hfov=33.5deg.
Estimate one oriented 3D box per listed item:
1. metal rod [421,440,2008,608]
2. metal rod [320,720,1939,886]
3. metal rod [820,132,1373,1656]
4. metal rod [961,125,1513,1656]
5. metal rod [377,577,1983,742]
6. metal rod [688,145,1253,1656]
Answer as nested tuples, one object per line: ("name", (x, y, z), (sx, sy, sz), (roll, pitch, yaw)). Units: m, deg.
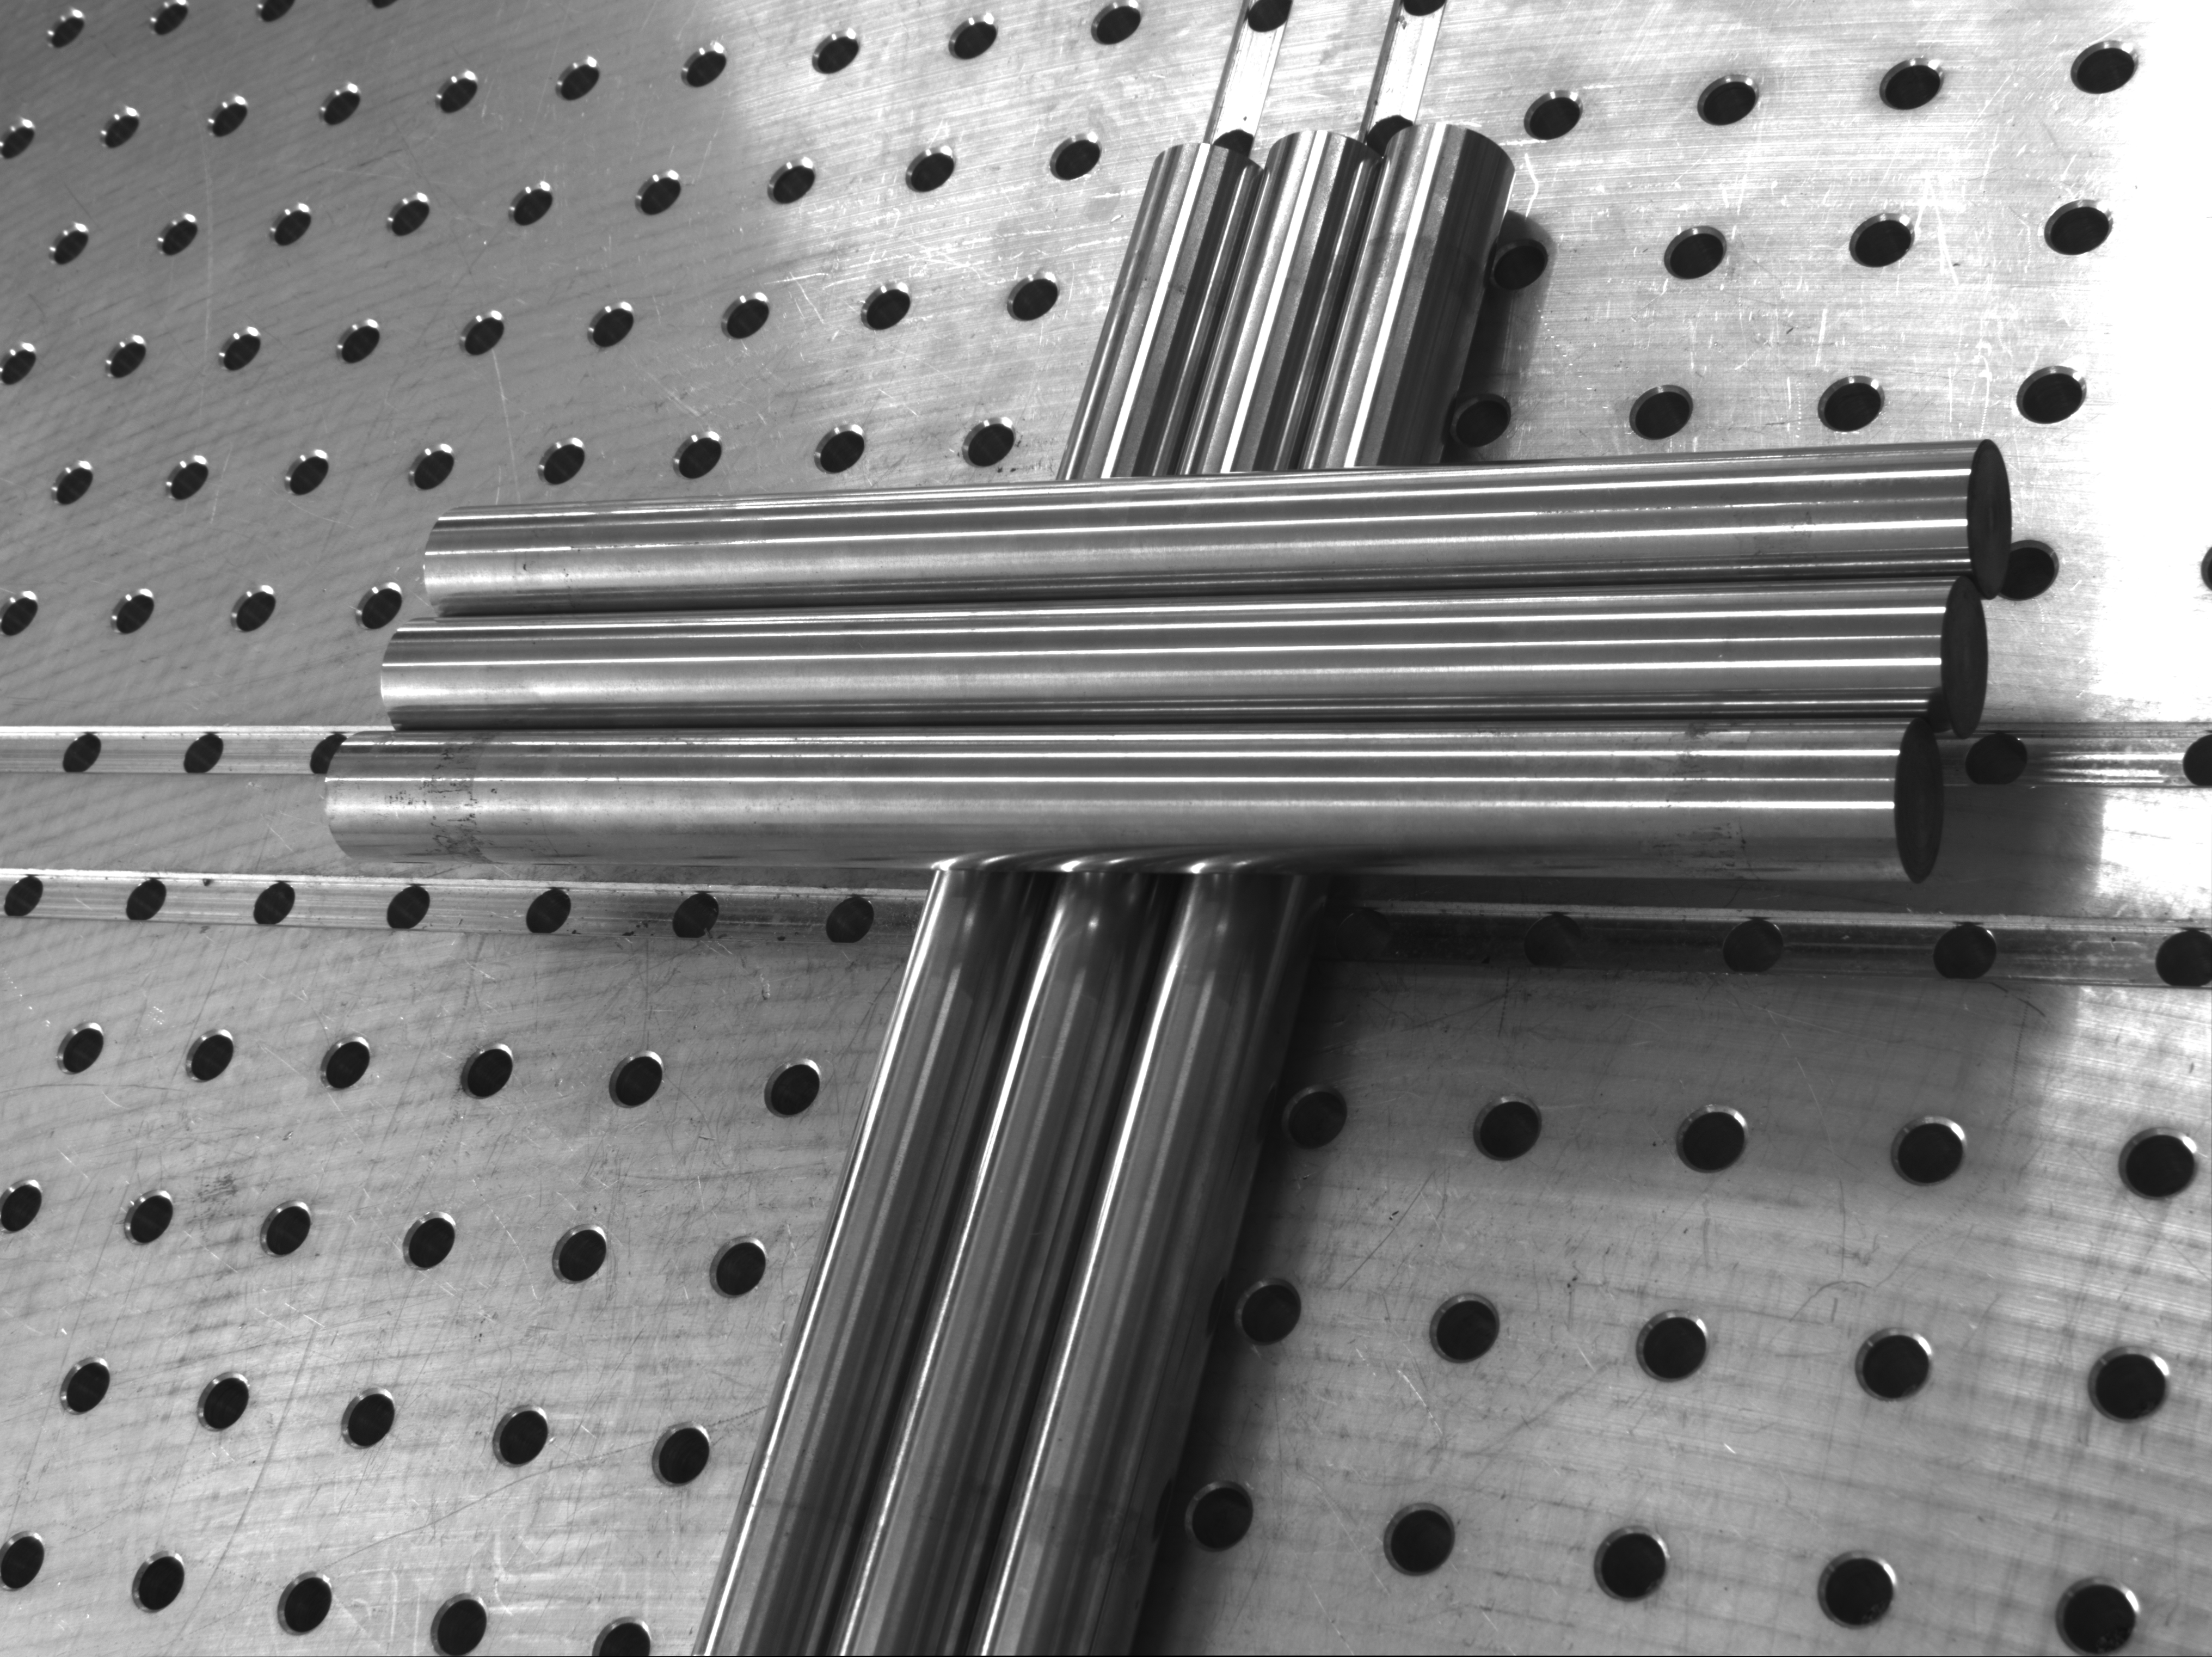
("metal rod", (0.006, -0.049, 0.643), (0.299, 0.025, 0.025), (0, 62, 29))
("metal rod", (-0.009, -0.005, 0.624), (0.299, 0.025, 0.025), (0, 62, 29))
("metal rod", (0.004, 0.006, 0.643), (0.025, 0.025, 0.300), (2, 62, 29))
("metal rod", (0.026, 0.007, 0.630), (0.025, 0.025, 0.300), (2, 62, 29))
("metal rod", (0.000, -0.027, 0.633), (0.299, 0.025, 0.025), (0, 62, 29))
("metal rod", (-0.018, 0.006, 0.654), (0.025, 0.025, 0.300), (2, 62, 29))
